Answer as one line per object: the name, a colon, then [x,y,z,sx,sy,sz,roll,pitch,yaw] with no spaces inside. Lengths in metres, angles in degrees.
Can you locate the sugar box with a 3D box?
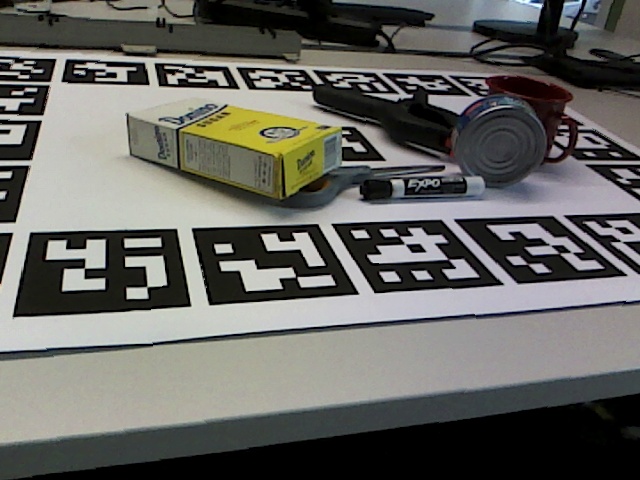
sugar box: [-0.078,-0.083,0.568,0.177,0.045,0.092,22,33,30]

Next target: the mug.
mug: [0.215,-0.115,0.675,0.093,0.081,0.118,-21,39,-40]

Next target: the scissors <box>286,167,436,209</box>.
scissors: [0.028,-0.061,0.590,0.202,0.016,0.088,-8,32,-27]

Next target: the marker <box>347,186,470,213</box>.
marker: [0.082,-0.038,0.572,0.120,0.019,0.020,-5,35,-20]

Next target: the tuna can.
tuna can: [0.174,-0.088,0.612,0.085,0.085,0.034,7,32,-3]

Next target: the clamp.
clamp: [0.100,-0.136,0.736,0.164,0.036,0.204,-8,37,-26]
